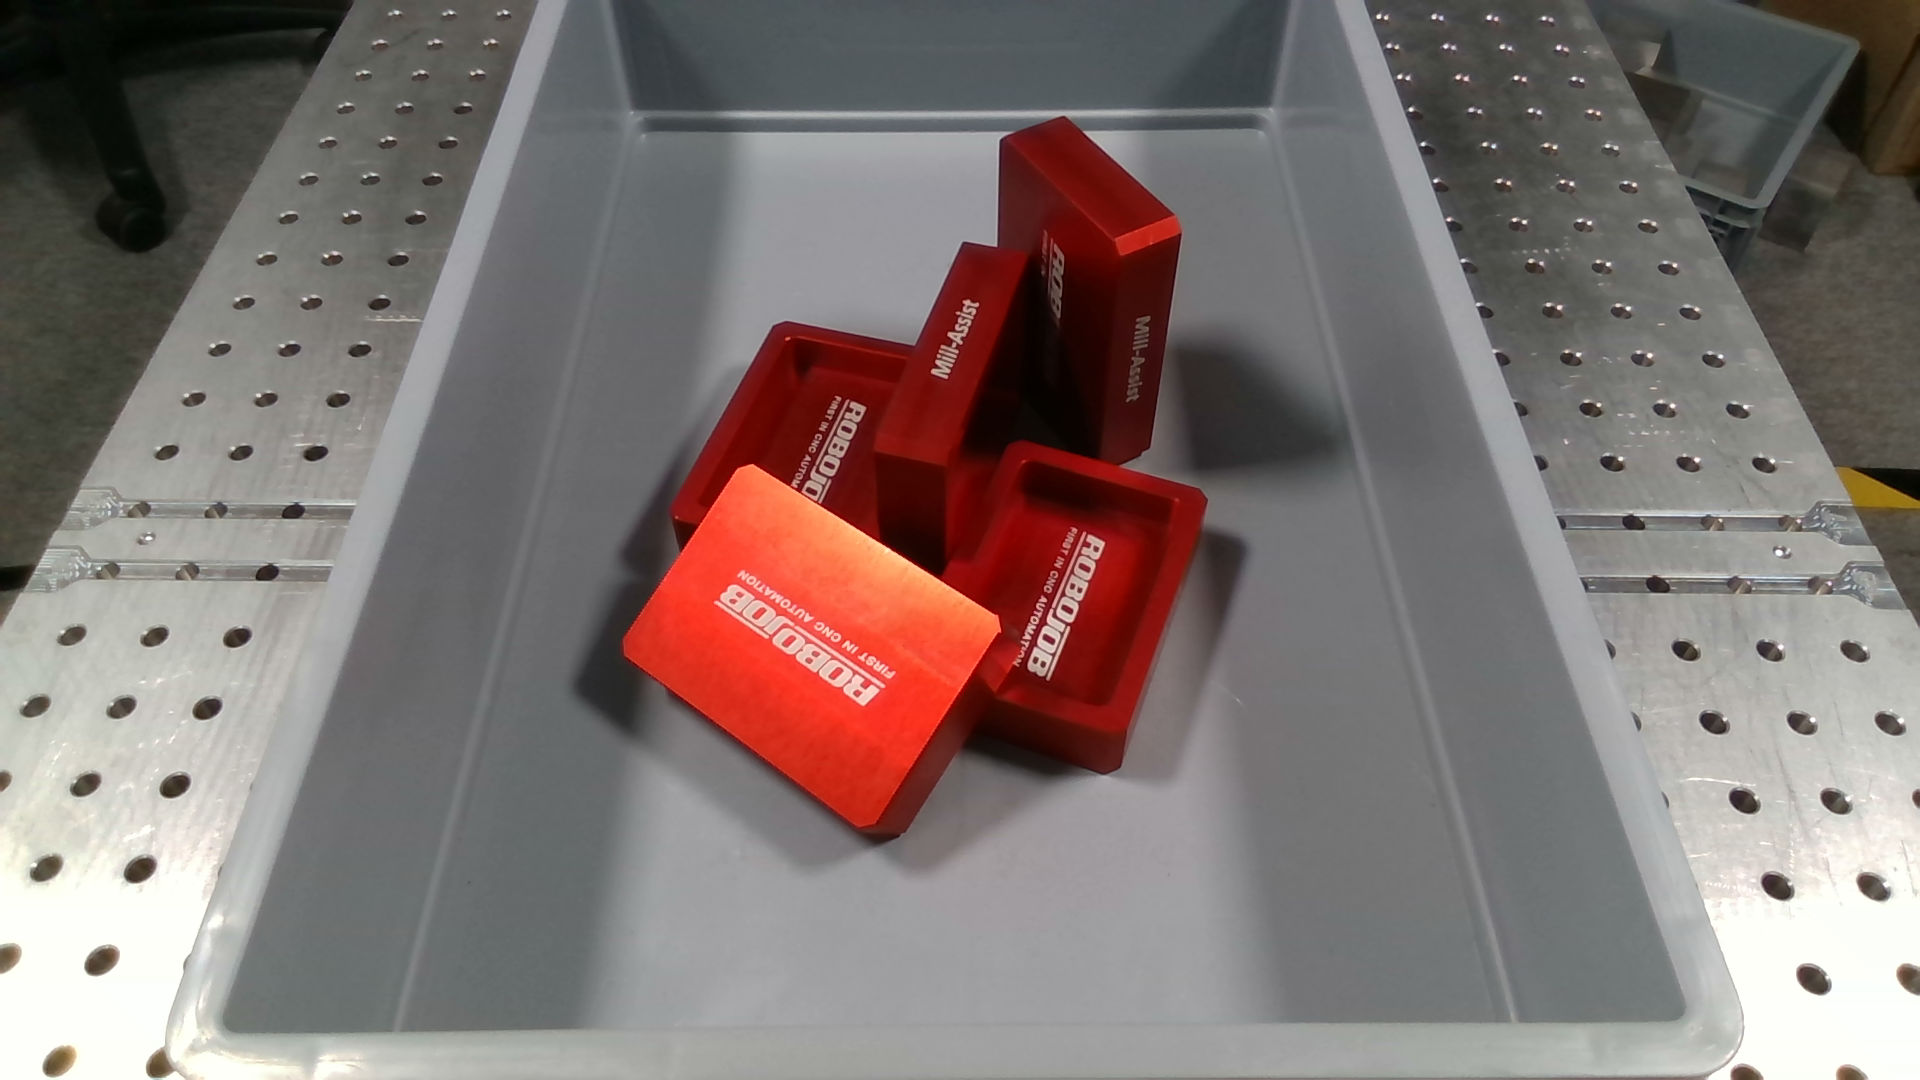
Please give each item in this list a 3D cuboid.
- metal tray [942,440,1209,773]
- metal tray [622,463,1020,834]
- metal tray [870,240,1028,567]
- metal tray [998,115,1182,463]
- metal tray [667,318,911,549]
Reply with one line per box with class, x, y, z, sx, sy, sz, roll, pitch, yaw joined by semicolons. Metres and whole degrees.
metal tray;0.041;0.023;0.563;0.090;0.030;0.130;16;52;13
metal tray;-0.054;0.040;0.523;0.130;0.030;0.090;31;85;24
metal tray;-0.002;-0.053;0.586;0.030;0.090;0.130;12;51;10
metal tray;0.052;-0.105;0.604;0.030;0.130;0.090;-24;54;-19
metal tray;-0.062;-0.040;0.613;0.090;0.030;0.130;12;51;10
